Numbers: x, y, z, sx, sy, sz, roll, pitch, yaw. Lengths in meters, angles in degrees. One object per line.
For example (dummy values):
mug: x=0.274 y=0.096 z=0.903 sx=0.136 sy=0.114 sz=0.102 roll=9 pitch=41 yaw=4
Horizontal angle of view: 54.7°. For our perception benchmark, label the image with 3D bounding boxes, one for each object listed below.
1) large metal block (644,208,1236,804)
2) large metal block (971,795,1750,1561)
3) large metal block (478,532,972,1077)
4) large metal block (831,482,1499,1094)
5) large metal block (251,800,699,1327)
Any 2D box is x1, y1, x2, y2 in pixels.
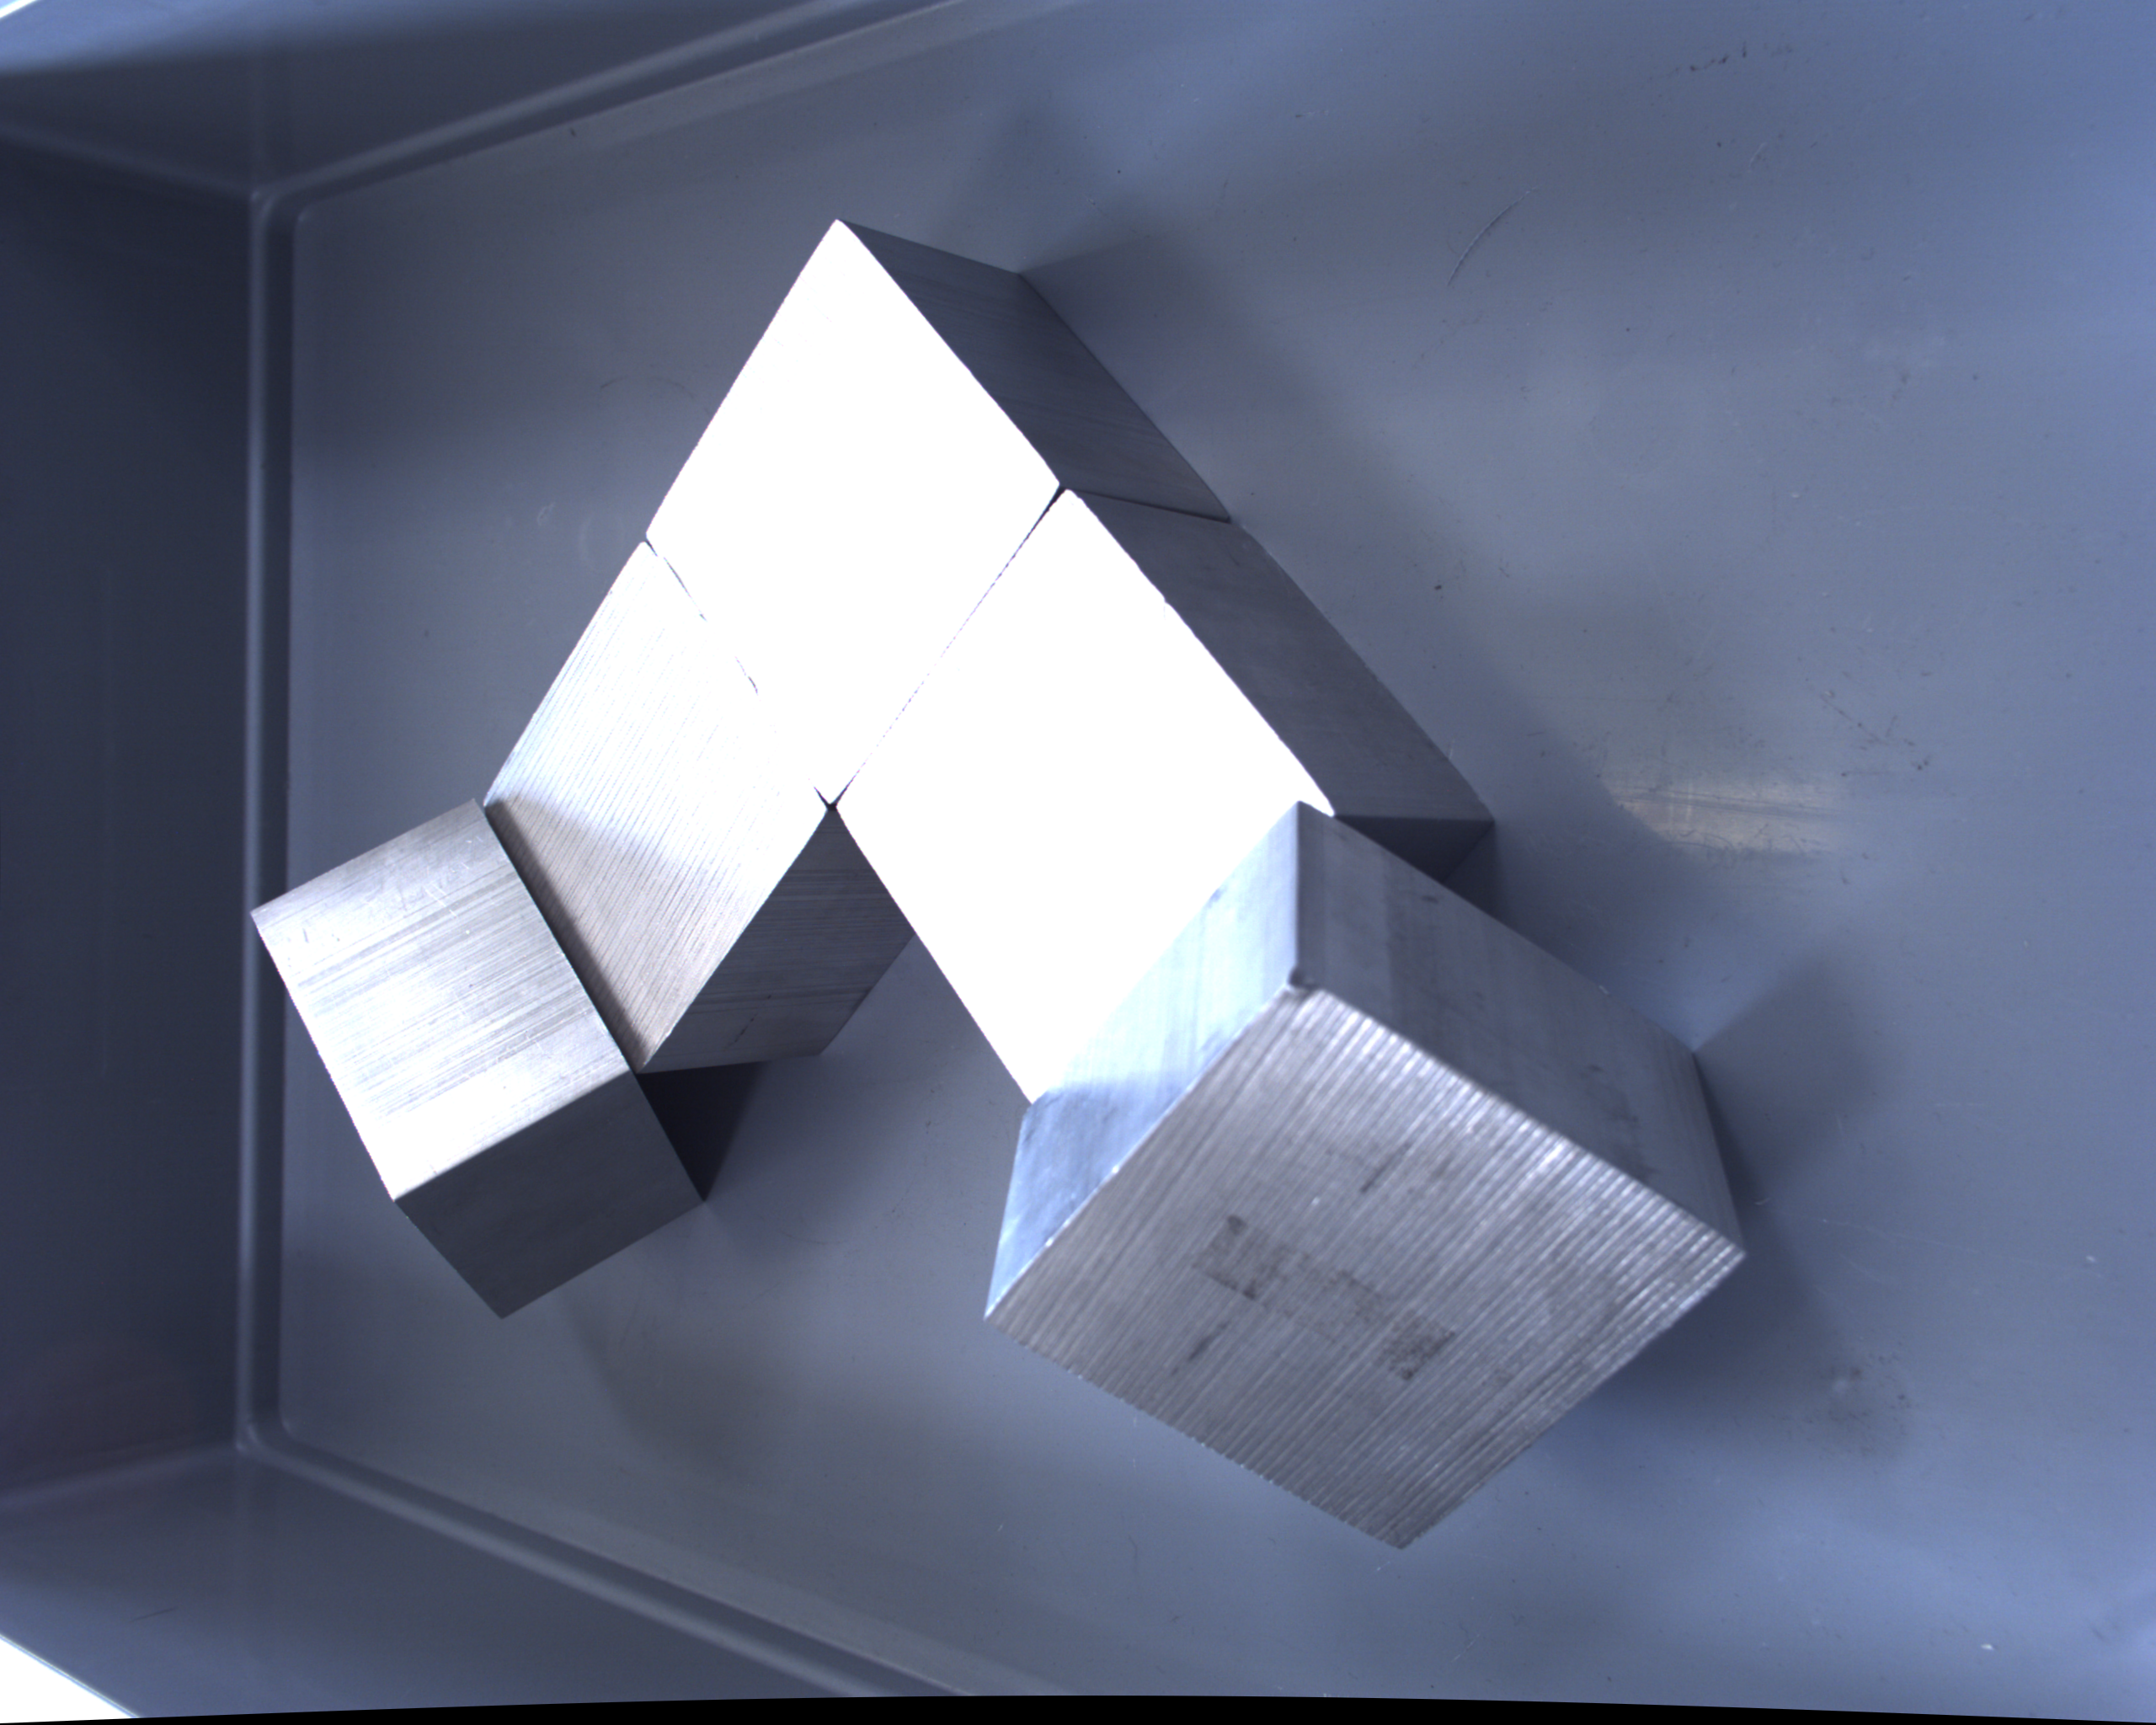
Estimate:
large metal block: x=-0.030 y=-0.067 z=0.413 sx=0.080 sy=0.050 sz=0.080 roll=-51 pitch=60 yaw=28
large metal block: x=0.042 y=0.050 z=0.326 sx=0.080 sy=0.050 sz=0.080 roll=32 pitch=118 yaw=-12
large metal block: x=-0.075 y=-0.012 z=0.450 sx=0.080 sy=0.050 sz=0.080 roll=-51 pitch=60 yaw=28
large metal block: x=0.013 y=-0.009 z=0.377 sx=0.080 sy=0.050 sz=0.080 roll=-51 pitch=60 yaw=28
large metal block: x=-0.134 y=0.047 z=0.471 sx=0.080 sy=0.050 sz=0.080 roll=54 pitch=164 yaw=26
